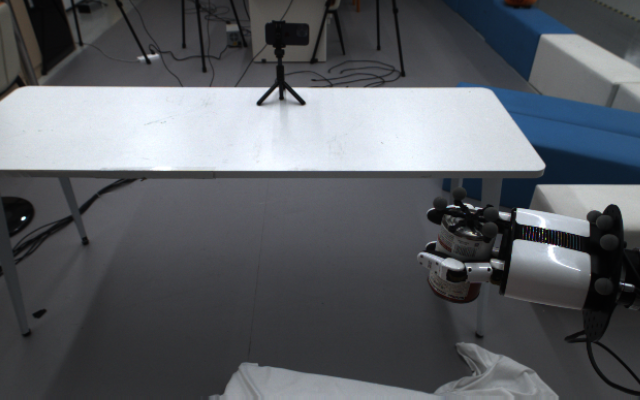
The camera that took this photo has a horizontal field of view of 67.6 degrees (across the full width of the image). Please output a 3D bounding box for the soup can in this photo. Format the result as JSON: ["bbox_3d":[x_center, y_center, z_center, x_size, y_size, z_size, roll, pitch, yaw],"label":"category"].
[{"bbox_3d":[0.179,0.068,0.611,0.067,0.101,0.067,4,30,-2],"label":"soup can"}]
